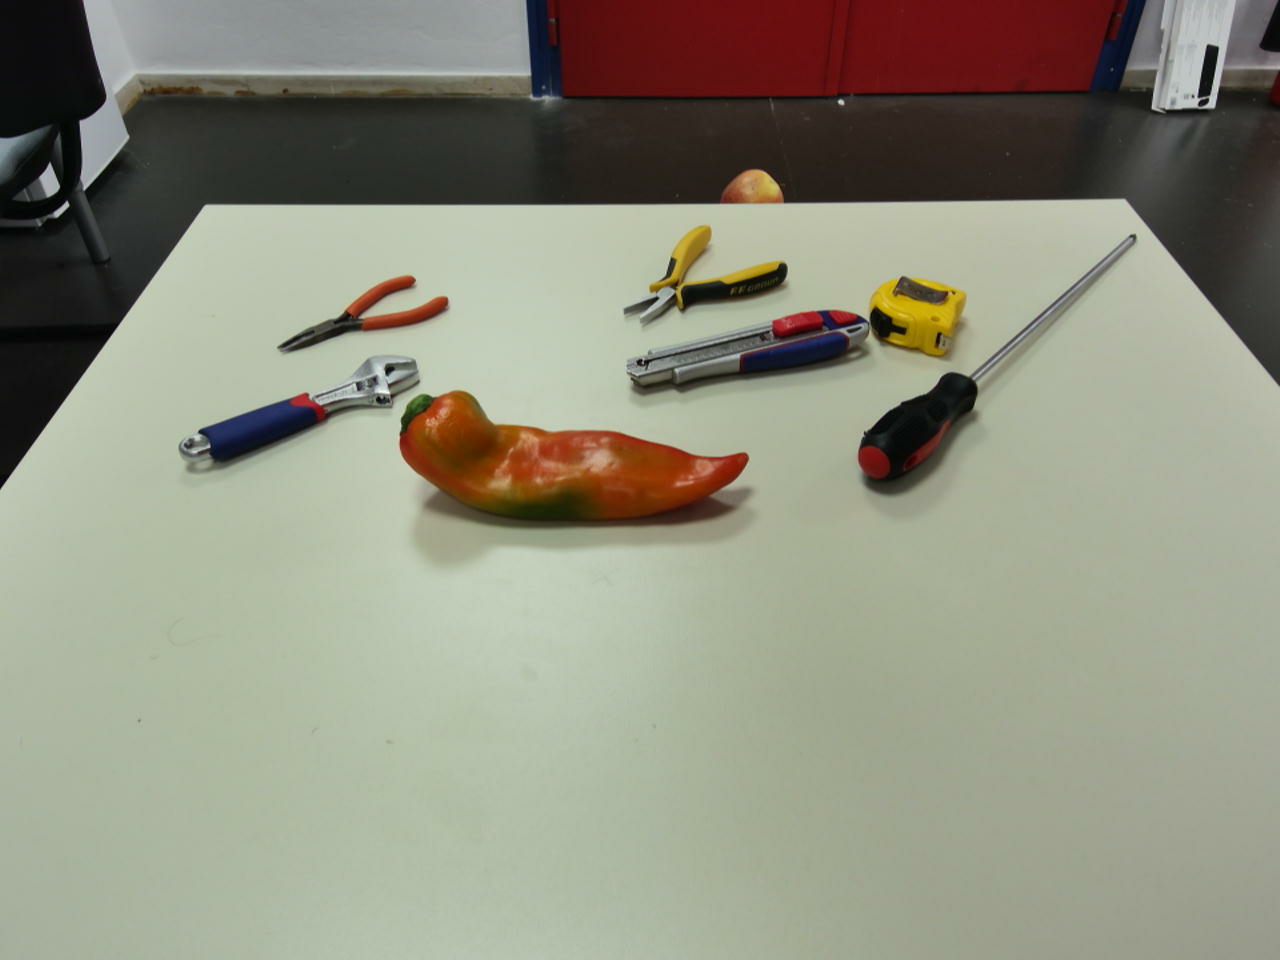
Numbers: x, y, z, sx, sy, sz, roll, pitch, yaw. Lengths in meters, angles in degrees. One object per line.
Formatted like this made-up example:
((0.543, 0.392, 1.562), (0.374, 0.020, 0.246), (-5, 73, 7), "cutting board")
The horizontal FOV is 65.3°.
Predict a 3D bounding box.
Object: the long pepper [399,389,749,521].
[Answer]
((-0.038, -0.016, 0.571), (0.199, 0.065, 0.066), (3, 39, 4), "long pepper")
